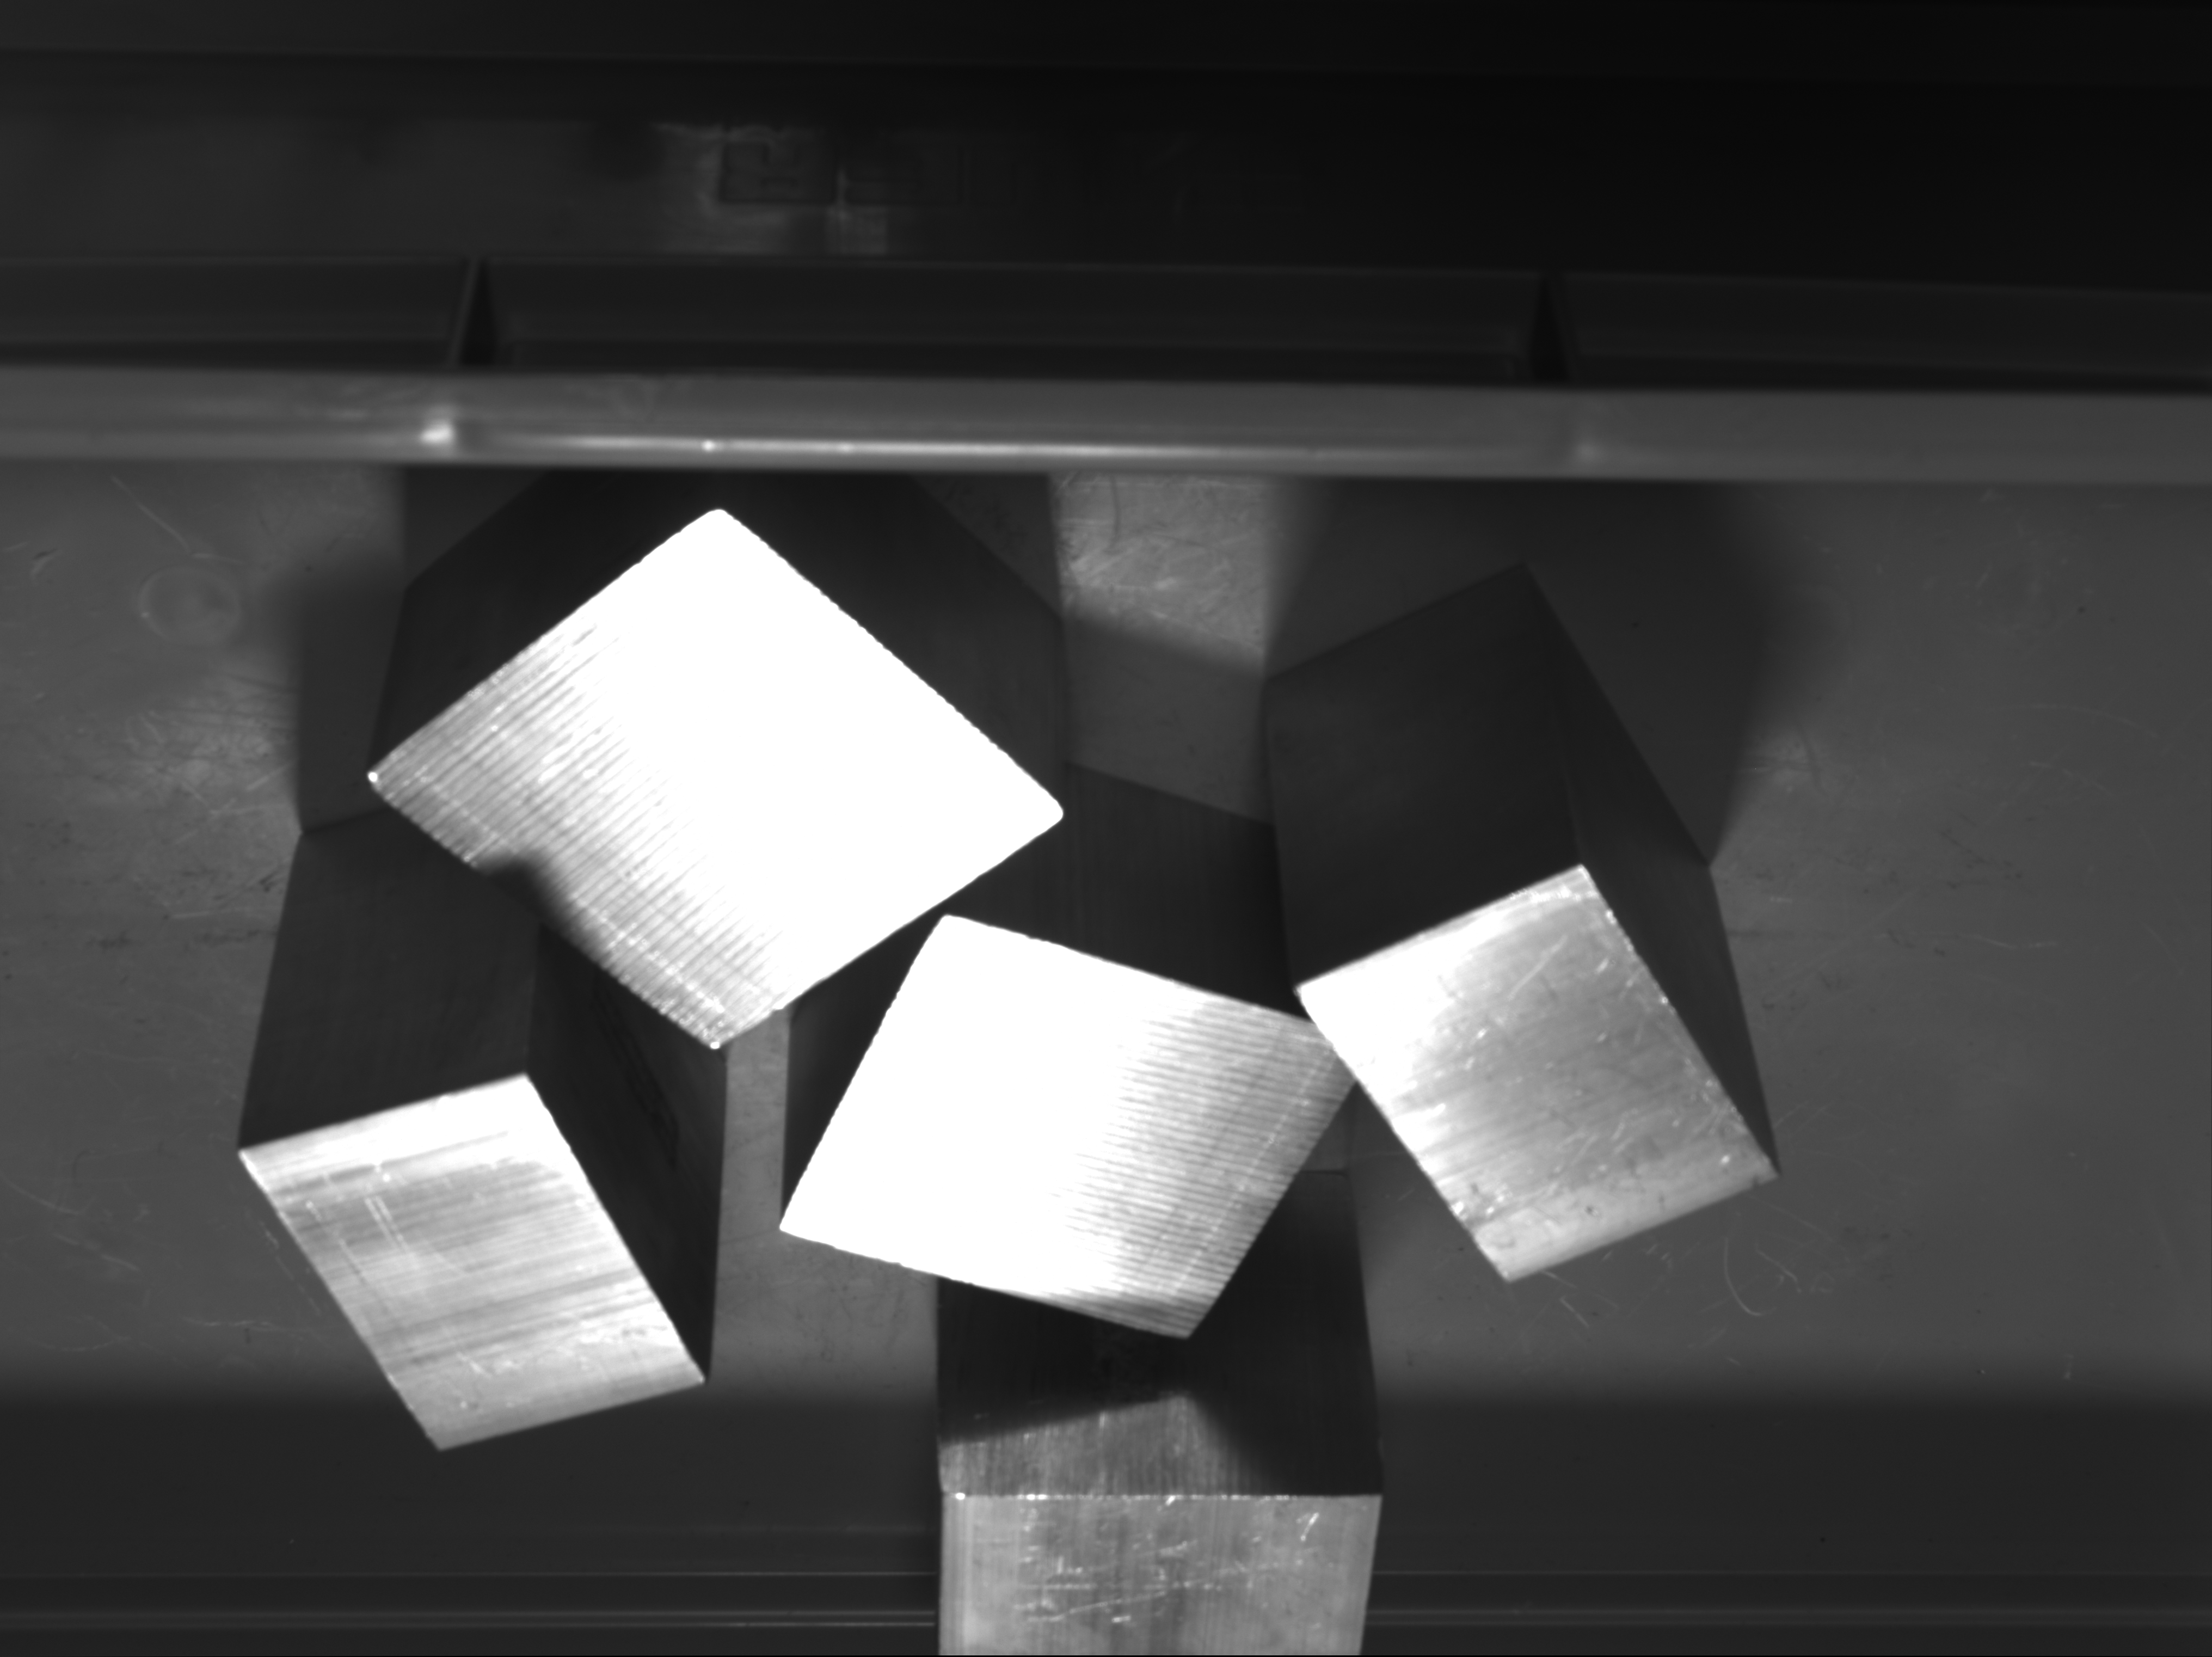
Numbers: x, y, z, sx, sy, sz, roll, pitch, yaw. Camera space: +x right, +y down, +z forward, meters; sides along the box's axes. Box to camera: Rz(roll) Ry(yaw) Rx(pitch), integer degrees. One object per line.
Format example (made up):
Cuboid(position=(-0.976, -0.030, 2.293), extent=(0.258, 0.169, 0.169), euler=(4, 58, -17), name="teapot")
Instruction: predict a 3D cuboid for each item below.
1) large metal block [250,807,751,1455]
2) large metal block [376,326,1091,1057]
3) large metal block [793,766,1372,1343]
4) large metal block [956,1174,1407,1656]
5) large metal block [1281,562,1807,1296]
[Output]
Cuboid(position=(-0.102, 0.048, 0.638), extent=(0.050, 0.080, 0.080), euler=(-15, 129, 10), name="large metal block")
Cuboid(position=(-0.059, -0.021, 0.601), extent=(0.080, 0.050, 0.080), euler=(-34, 123, 24), name="large metal block")
Cuboid(position=(-0.003, 0.038, 0.652), extent=(0.080, 0.050, 0.080), euler=(18, 127, -16), name="large metal block")
Cuboid(position=(0.012, 0.112, 0.696), extent=(0.080, 0.080, 0.050), euler=(1, 130, -2), name="large metal block")
Cuboid(position=(0.073, 0.017, 0.617), extent=(0.050, 0.080, 0.080), euler=(-24, 126, 18), name="large metal block")
